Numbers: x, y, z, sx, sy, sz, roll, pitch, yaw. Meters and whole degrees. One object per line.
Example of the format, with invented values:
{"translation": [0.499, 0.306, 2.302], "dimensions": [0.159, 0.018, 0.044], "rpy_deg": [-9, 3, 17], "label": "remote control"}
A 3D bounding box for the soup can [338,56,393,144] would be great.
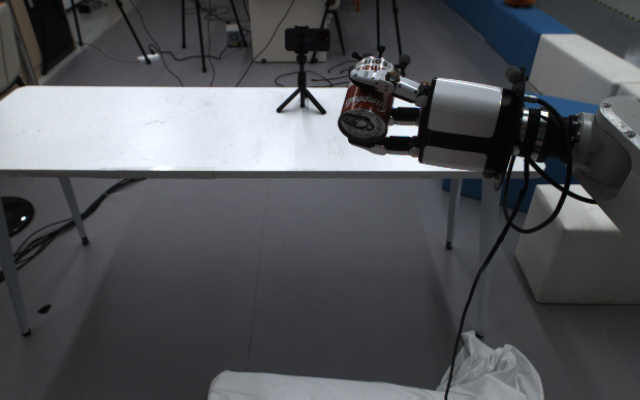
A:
{"translation": [0.068, -0.141, 0.668], "dimensions": [0.067, 0.067, 0.101], "rpy_deg": [9, 60, 10], "label": "soup can"}
